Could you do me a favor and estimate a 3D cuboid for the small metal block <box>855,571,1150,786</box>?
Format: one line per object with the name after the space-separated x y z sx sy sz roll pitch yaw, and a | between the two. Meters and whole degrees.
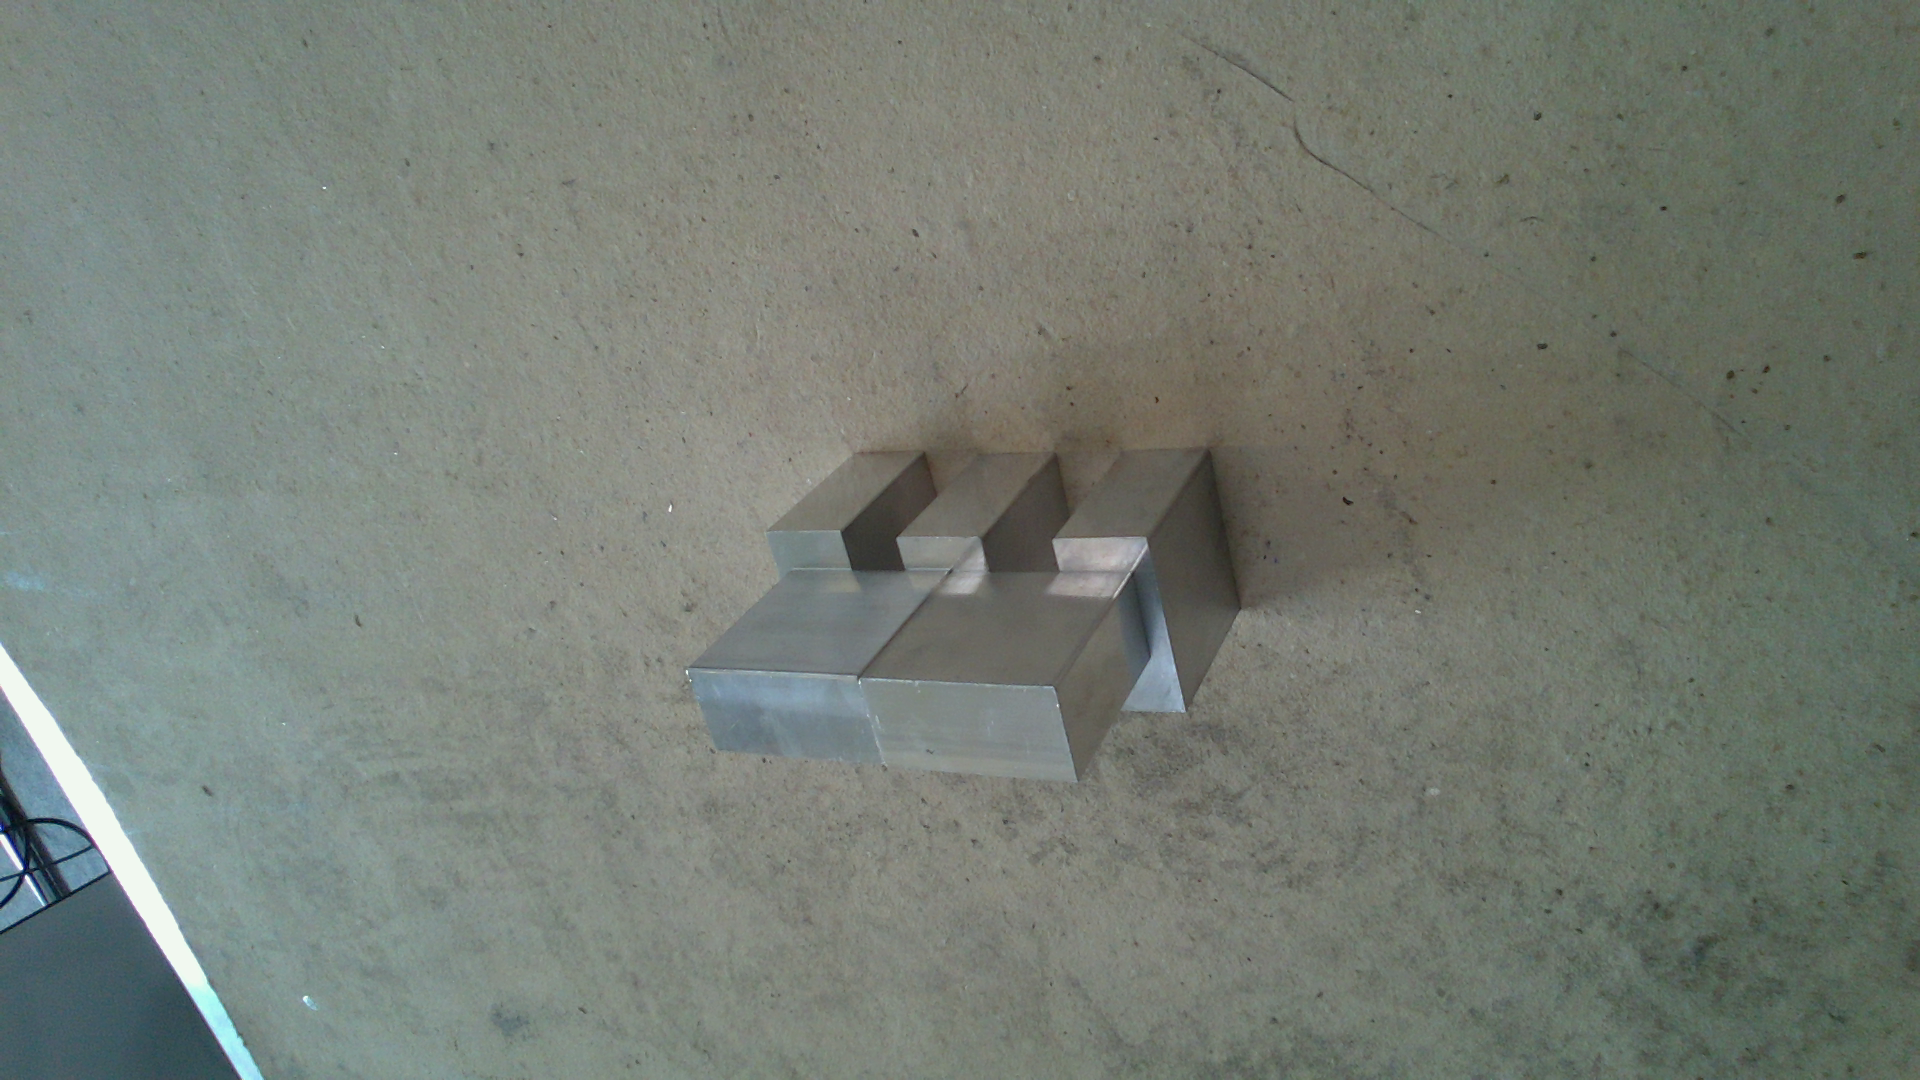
0.011 0.031 0.325 0.050 0.050 0.025 0 118 28 | small metal block

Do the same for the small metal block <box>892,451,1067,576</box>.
0.010 0.009 0.378 0.025 0.050 0.050 -1 118 30 | small metal block

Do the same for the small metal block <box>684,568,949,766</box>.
-0.032 0.030 0.349 0.050 0.050 0.025 0 118 28 | small metal block

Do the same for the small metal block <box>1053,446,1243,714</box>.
0.050 0.010 0.357 0.025 0.050 0.050 -1 118 30 | small metal block

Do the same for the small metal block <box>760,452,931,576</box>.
-0.027 0.008 0.396 0.025 0.050 0.050 0 118 29 | small metal block
